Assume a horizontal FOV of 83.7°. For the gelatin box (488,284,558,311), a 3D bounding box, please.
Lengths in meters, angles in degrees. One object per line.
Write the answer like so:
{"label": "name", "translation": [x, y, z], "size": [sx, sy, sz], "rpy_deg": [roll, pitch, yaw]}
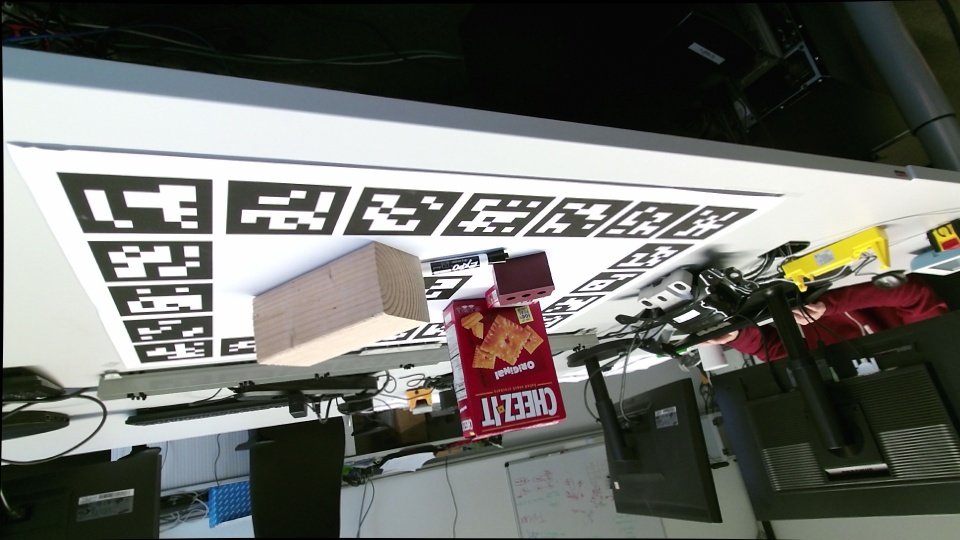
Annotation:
{"label": "gelatin box", "translation": [0.067, 0.035, 0.846], "size": [0.090, 0.030, 0.073], "rpy_deg": [-3, 153, -26]}

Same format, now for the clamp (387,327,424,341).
{"label": "clamp", "translation": [-0.199, 0.096, 0.812], "size": [0.203, 0.036, 0.166], "rpy_deg": [-16, 157, 1]}

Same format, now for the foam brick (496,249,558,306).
{"label": "foam brick", "translation": [0.066, 0.012, 0.756], "size": [0.078, 0.051, 0.053], "rpy_deg": [-13, 156, -4]}

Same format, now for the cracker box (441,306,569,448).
{"label": "cracker box", "translation": [0.039, 0.168, 0.883], "size": [0.165, 0.212, 0.072], "rpy_deg": [-3, 156, -23]}

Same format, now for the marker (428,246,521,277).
{"label": "marker", "translation": [-0.006, -0.012, 0.697], "size": [0.121, 0.019, 0.020], "rpy_deg": [-11, 155, -8]}

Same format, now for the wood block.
{"label": "wood block", "translation": [-0.170, 0.051, 0.665], "size": [0.207, 0.090, 0.090], "rpy_deg": [-22, 159, 24]}
